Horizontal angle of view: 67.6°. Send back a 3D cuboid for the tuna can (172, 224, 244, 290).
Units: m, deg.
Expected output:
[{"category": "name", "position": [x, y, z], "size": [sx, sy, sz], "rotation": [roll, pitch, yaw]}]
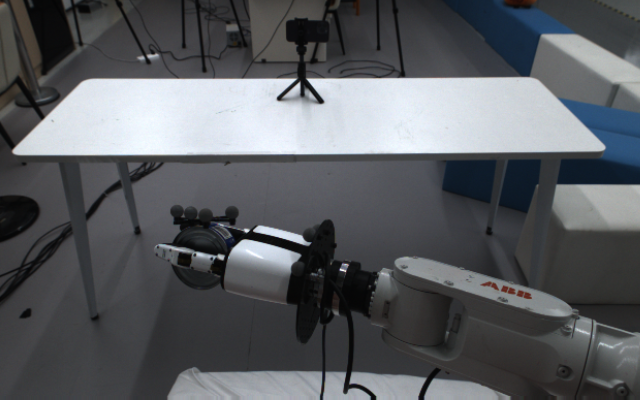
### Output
[{"category": "tuna can", "position": [-0.151, 0.075, 0.643], "size": [0.085, 0.085, 0.034], "rotation": [11, 8, 13]}]
